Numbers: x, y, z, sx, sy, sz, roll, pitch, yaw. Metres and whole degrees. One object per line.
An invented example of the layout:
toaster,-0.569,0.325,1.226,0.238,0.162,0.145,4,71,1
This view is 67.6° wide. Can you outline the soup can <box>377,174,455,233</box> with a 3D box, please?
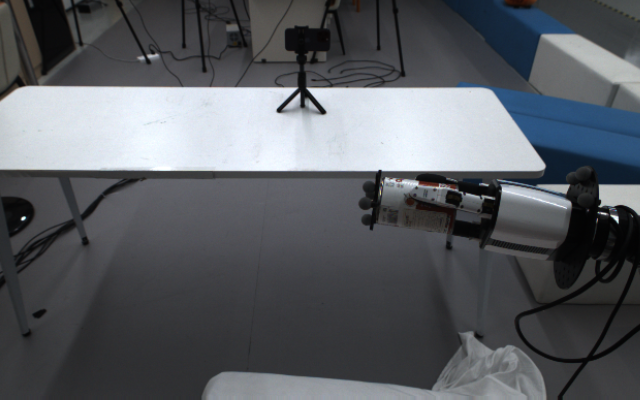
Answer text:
soup can,0.134,0.006,0.659,0.101,0.067,0.067,7,35,10
